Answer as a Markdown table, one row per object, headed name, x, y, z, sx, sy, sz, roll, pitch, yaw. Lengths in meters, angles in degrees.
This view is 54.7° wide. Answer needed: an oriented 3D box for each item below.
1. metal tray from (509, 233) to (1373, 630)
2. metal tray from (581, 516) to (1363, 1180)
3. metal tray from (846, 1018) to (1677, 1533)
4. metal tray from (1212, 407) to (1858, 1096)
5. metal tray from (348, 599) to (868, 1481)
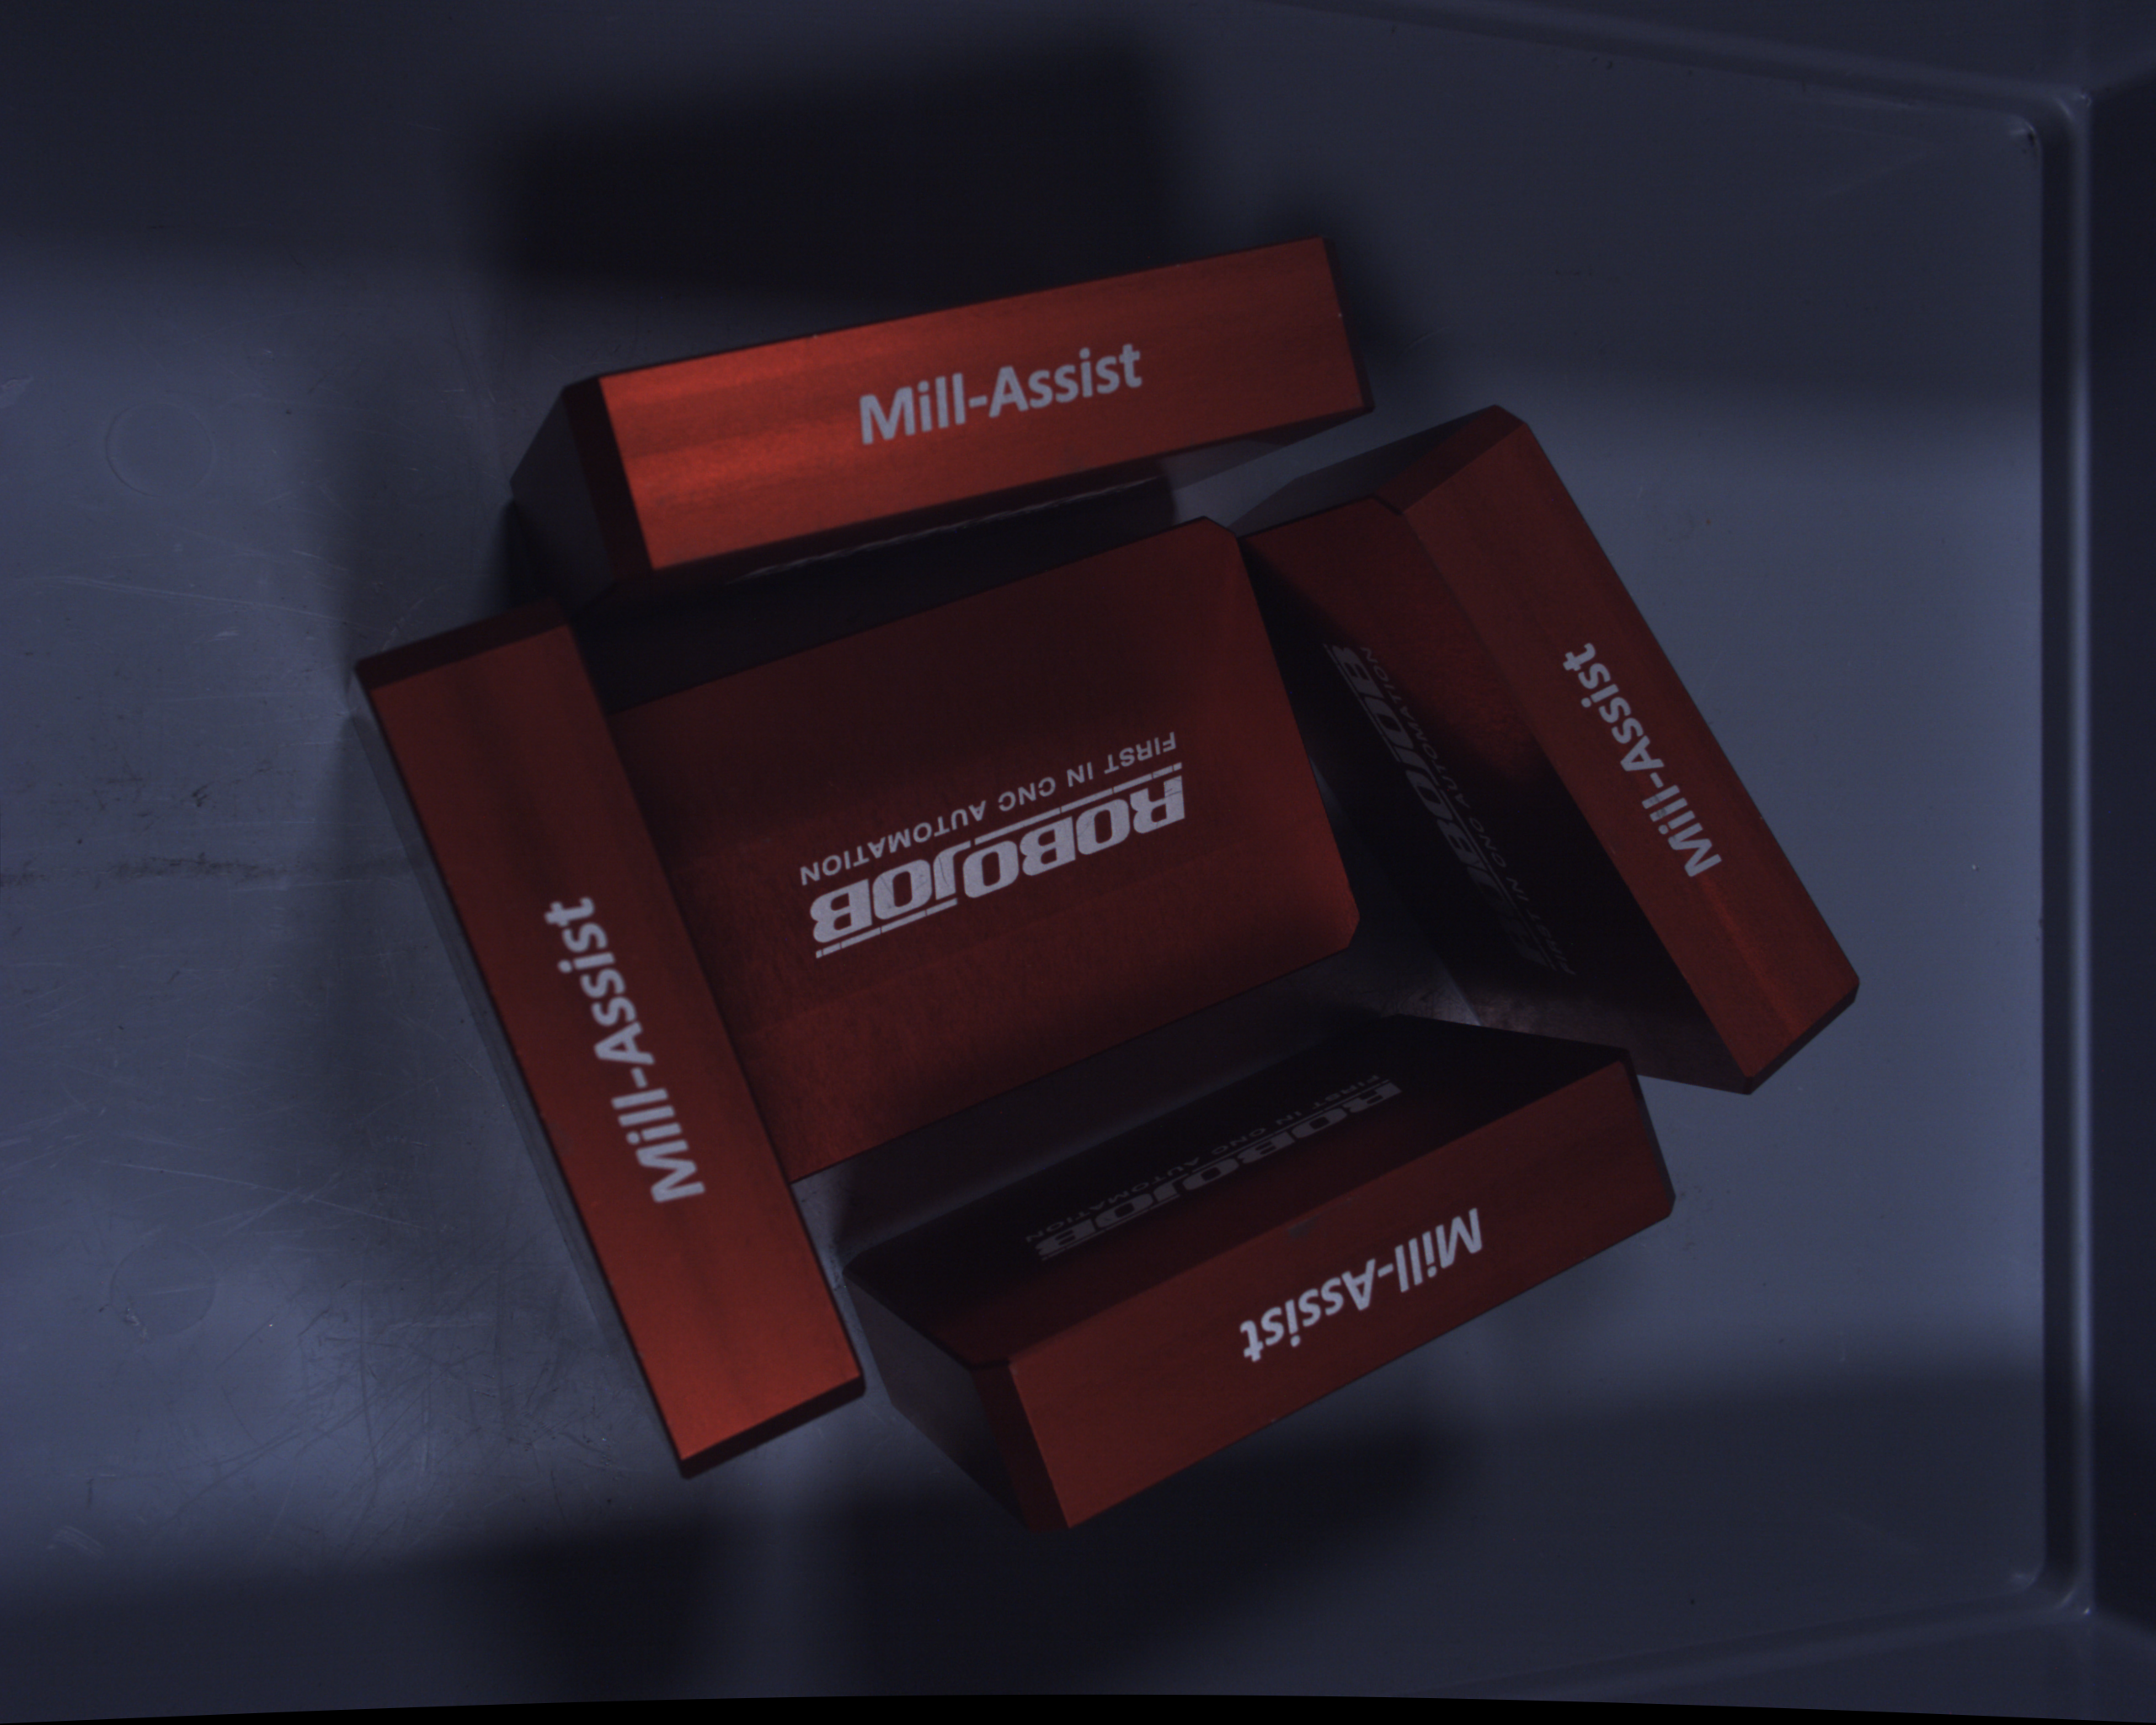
| name | x | y | z | sx | sy | sz | roll | pitch | yaw |
| --- | --- | --- | --- | --- | --- | --- | --- | --- | --- |
| metal tray | -0.027 | -0.073 | 0.364 | 0.131 | 0.090 | 0.030 | -17 | 96 | -20 |
| metal tray | -0.019 | -0.004 | 0.399 | 0.131 | 0.030 | 0.090 | -21 | 97 | -19 |
| metal tray | 0.031 | 0.069 | 0.387 | 0.131 | 0.090 | 0.030 | -22 | 98 | -19 |
| metal tray | 0.083 | -0.019 | 0.407 | 0.030 | 0.090 | 0.130 | -38 | 103 | -15 |
| metal tray | -0.081 | 0.027 | 0.344 | 0.030 | 0.090 | 0.129 | -23 | 98 | -19 |
